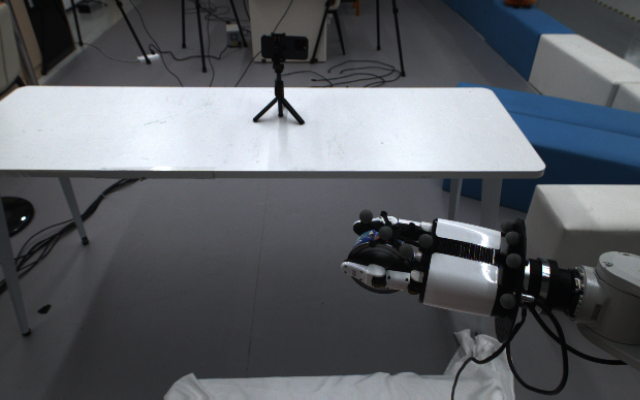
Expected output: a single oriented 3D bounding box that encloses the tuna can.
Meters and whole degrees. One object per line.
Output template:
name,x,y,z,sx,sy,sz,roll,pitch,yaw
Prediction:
tuna can,0.084,0.079,0.643,0.085,0.085,0.034,12,33,14
